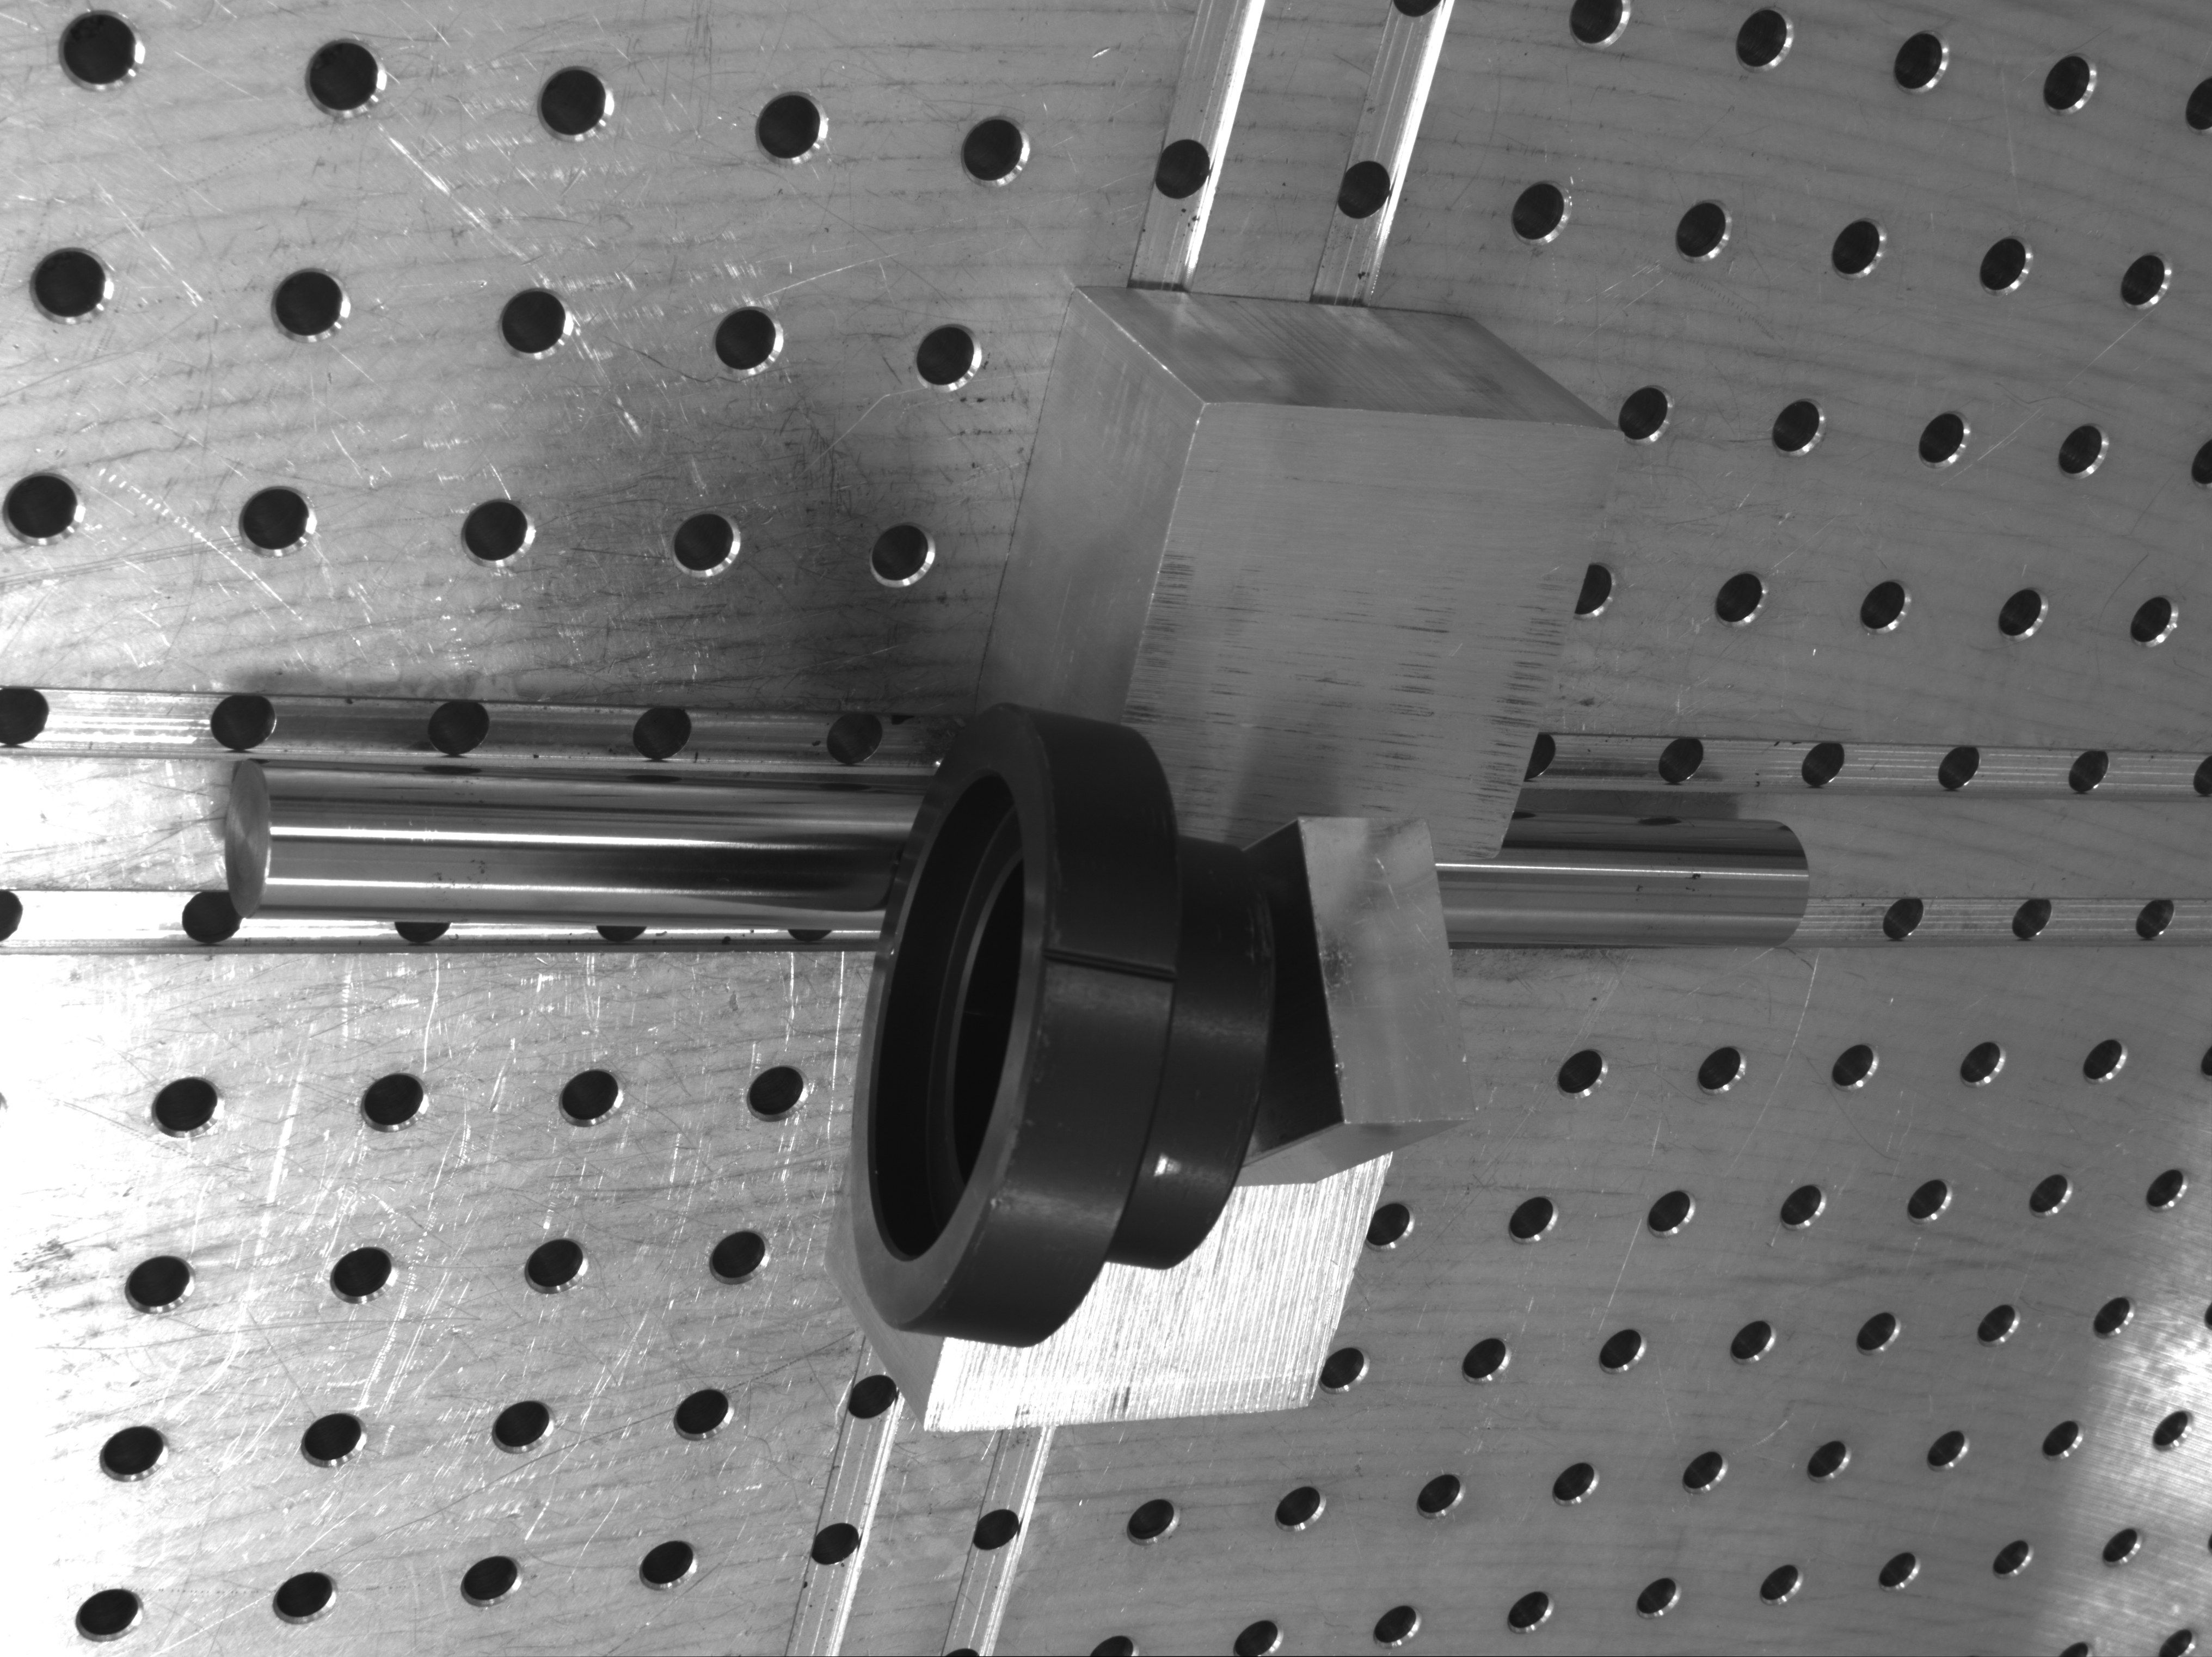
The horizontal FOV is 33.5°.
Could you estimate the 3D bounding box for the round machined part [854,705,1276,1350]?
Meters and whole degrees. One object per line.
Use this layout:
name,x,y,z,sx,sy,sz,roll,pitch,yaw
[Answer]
round machined part,-0.005,0.033,0.574,0.042,0.098,0.098,11,113,-17

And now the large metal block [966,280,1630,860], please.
large metal block,0.031,-0.042,0.616,0.080,0.050,0.080,1,118,-28

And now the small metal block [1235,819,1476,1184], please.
small metal block,0.033,0.029,0.604,0.025,0.050,0.050,1,74,-28

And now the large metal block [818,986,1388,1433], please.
large metal block,0.002,0.059,0.662,0.080,0.050,0.080,1,118,-29

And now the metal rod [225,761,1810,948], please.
metal rod,-0.002,0.007,0.643,0.301,0.025,0.025,2,117,-29
